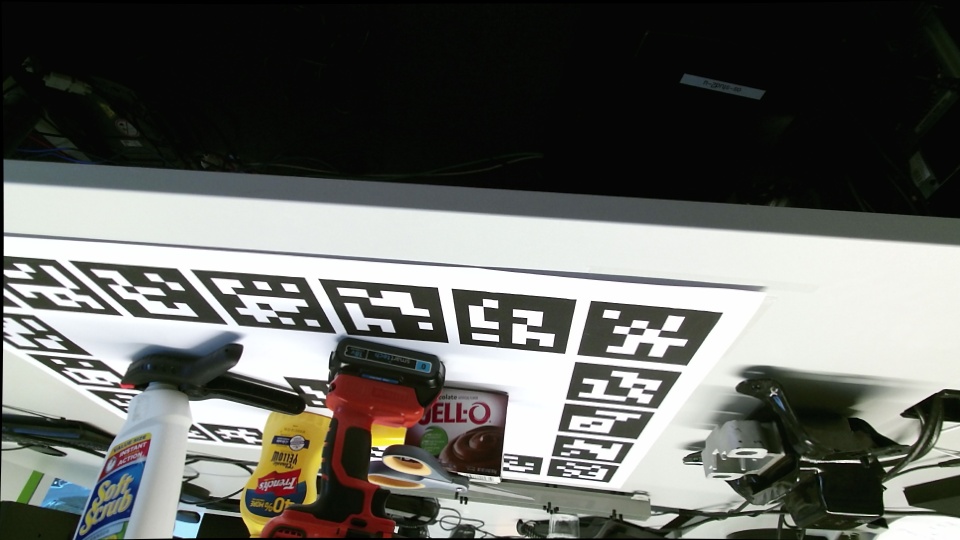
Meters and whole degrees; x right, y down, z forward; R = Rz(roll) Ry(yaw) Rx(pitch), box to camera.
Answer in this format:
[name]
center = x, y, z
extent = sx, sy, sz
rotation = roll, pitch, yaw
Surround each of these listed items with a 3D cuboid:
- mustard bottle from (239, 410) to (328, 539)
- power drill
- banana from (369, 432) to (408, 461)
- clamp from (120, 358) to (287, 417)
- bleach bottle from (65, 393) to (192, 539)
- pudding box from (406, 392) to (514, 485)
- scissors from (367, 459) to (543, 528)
[mustard bottle]
center = -0.264, 0.289, 0.716
extent = 0.096, 0.190, 0.058
rotation = 13, 144, -5
[power drill]
center = -0.093, 0.197, 0.501
extent = 0.185, 0.186, 0.057
rotation = 10, 151, -7
[banana]
center = -0.148, 0.254, 0.755
extent = 0.198, 0.038, 0.074
rotation = -23, 150, 36
[clamp]
center = -0.336, 0.146, 0.630
extent = 0.203, 0.036, 0.165
rotation = 1, 142, 12
[bleach bottle]
center = -0.382, 0.236, 0.586
extent = 0.103, 0.249, 0.068
rotation = -13, 144, 16
[pudding box]
center = -0.022, 0.190, 0.608
extent = 0.114, 0.089, 0.039
rotation = 7, 151, 3
[scissors]
center = -0.021, 0.246, 0.576
extent = 0.203, 0.016, 0.088
rotation = 23, 138, -12
